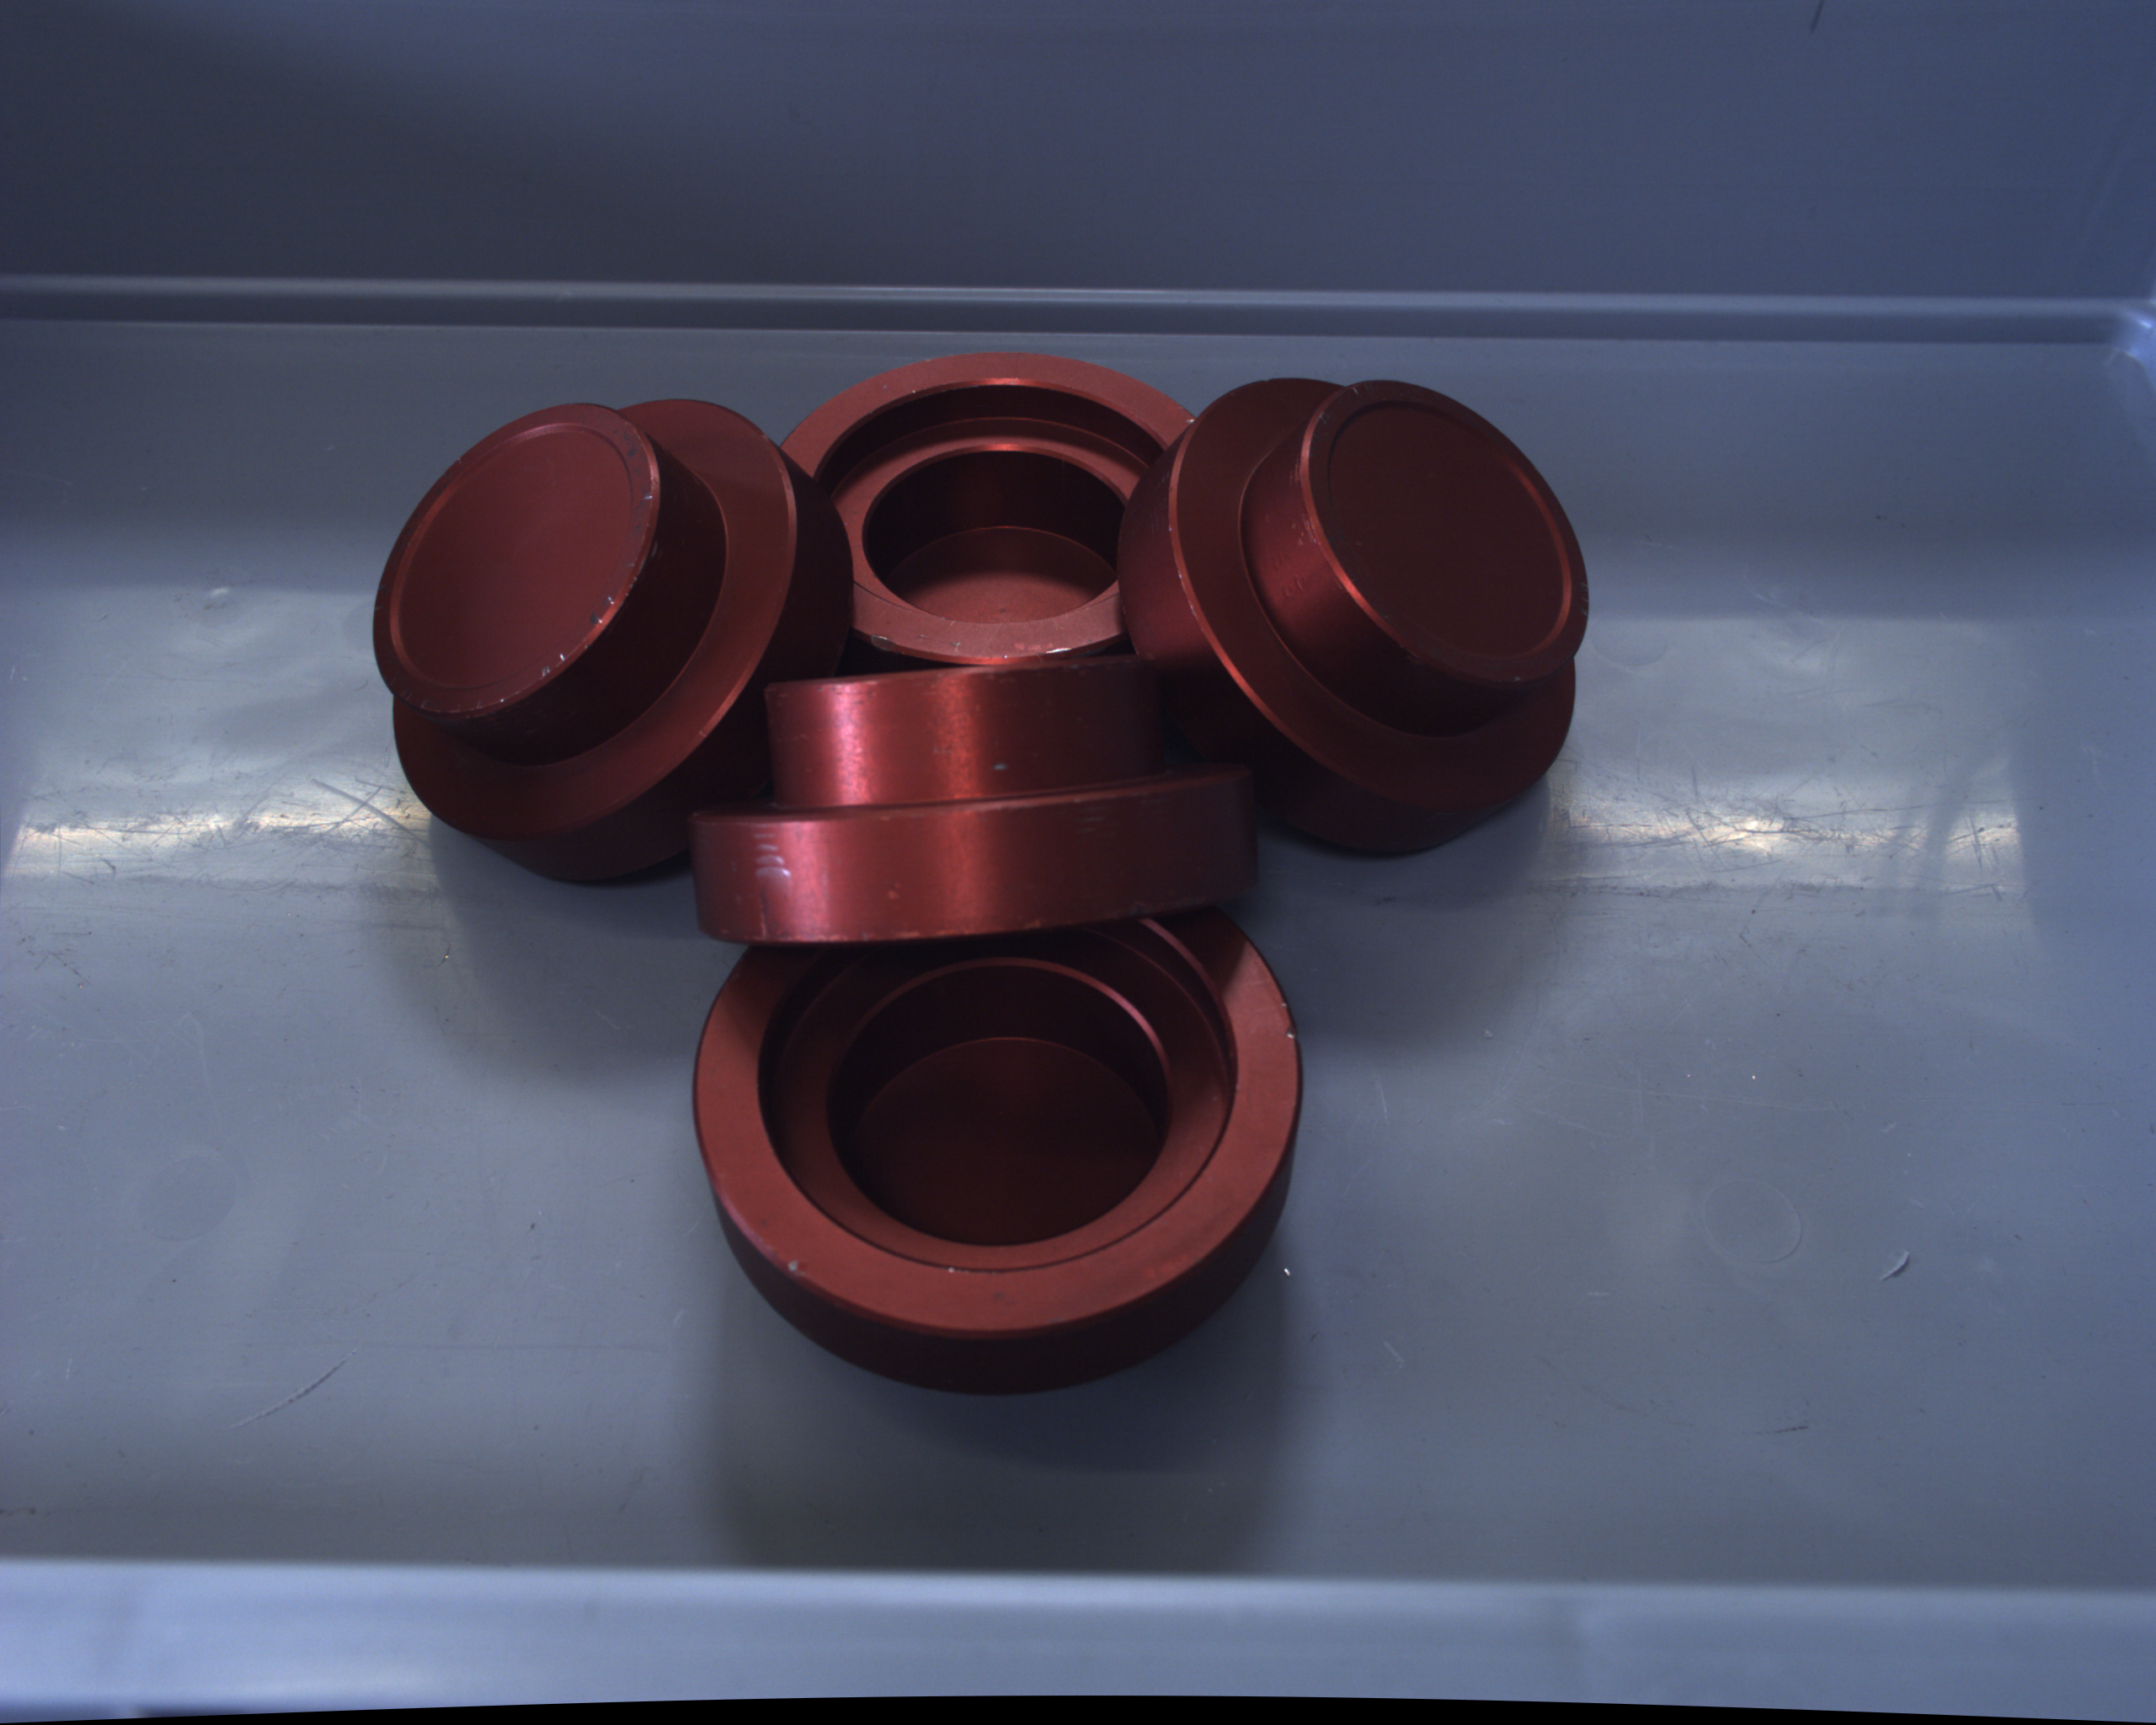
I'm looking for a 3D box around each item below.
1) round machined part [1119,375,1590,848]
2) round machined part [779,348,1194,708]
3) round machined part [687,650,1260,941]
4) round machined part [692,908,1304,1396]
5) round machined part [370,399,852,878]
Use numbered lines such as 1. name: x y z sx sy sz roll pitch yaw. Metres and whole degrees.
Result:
1. round machined part: 0.061 -0.055 0.409 0.099 0.042 0.098 15 58 -26
2. round machined part: -0.016 -0.063 0.443 0.099 0.042 0.098 0 50 0
3. round machined part: -0.019 -0.014 0.366 0.099 0.098 0.042 -5 95 -4
4. round machined part: -0.013 0.045 0.353 0.099 0.042 0.098 0 50 0
5. round machined part: -0.097 -0.050 0.405 0.098 0.042 0.098 -13 60 24
